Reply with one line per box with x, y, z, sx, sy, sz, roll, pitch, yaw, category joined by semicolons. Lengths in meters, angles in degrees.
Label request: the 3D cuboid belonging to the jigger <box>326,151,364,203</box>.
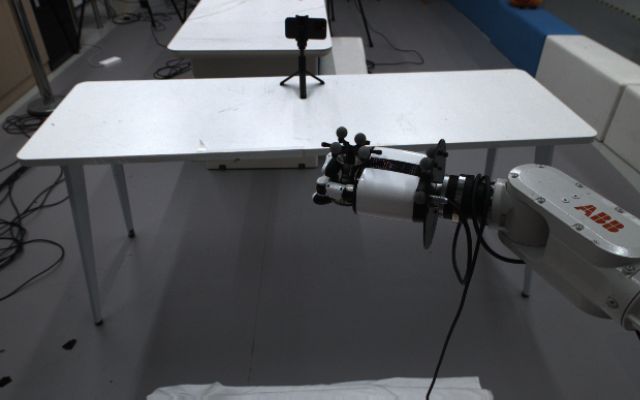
0.043;-0.030;0.732;0.043;0.071;0.043;5;26;-3;jigger
